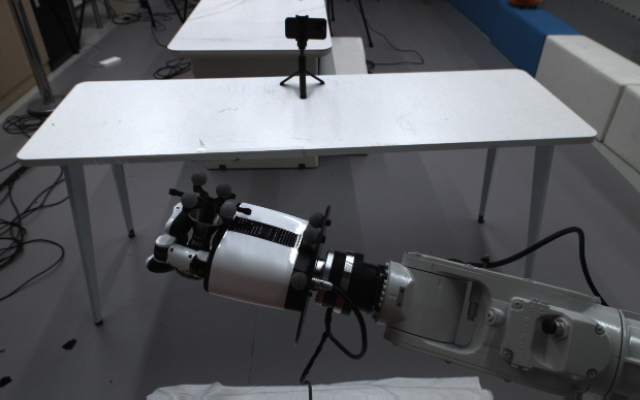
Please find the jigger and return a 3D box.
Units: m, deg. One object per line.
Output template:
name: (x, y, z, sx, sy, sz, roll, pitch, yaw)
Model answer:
jigger: (-0.132, 0.049, 0.539, 0.043, 0.071, 0.043, 18, 17, -6)
